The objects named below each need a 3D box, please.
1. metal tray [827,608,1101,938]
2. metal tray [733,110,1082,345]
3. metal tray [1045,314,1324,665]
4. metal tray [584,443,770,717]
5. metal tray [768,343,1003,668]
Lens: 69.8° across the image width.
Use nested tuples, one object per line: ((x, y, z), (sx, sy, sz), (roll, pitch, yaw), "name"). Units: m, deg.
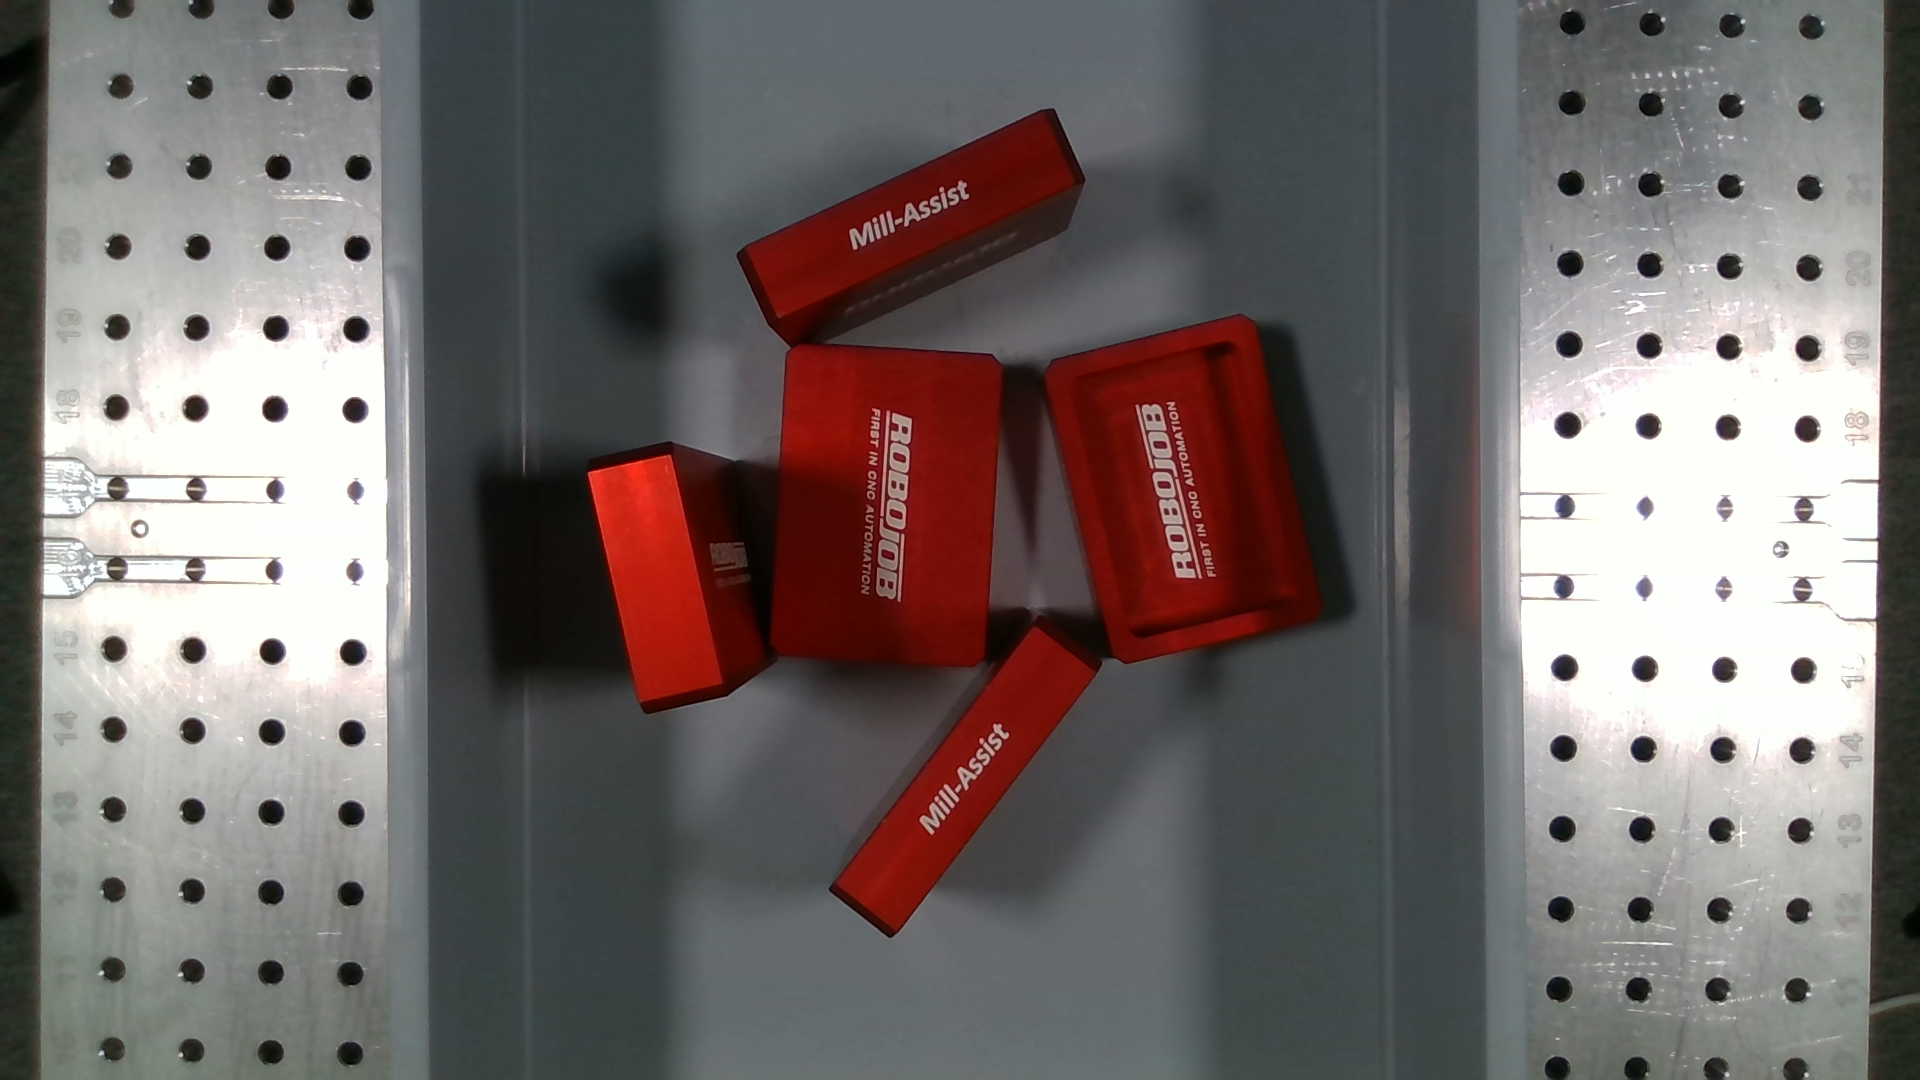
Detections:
((0.002, 0.089, 0.553), (0.030, 0.090, 0.130), (38, 90, 1), "metal tray")
((-0.020, -0.121, 0.552), (0.130, 0.090, 0.030), (-25, 91, 0), "metal tray")
((0.093, -0.021, 0.583), (0.090, 0.030, 0.130), (-13, 91, 0), "metal tray")
((-0.104, 0.013, 0.532), (0.030, 0.130, 0.090), (-13, 91, 0), "metal tray")
((-0.031, -0.014, 0.582), (0.090, 0.030, 0.130), (3, 91, 0), "metal tray")
